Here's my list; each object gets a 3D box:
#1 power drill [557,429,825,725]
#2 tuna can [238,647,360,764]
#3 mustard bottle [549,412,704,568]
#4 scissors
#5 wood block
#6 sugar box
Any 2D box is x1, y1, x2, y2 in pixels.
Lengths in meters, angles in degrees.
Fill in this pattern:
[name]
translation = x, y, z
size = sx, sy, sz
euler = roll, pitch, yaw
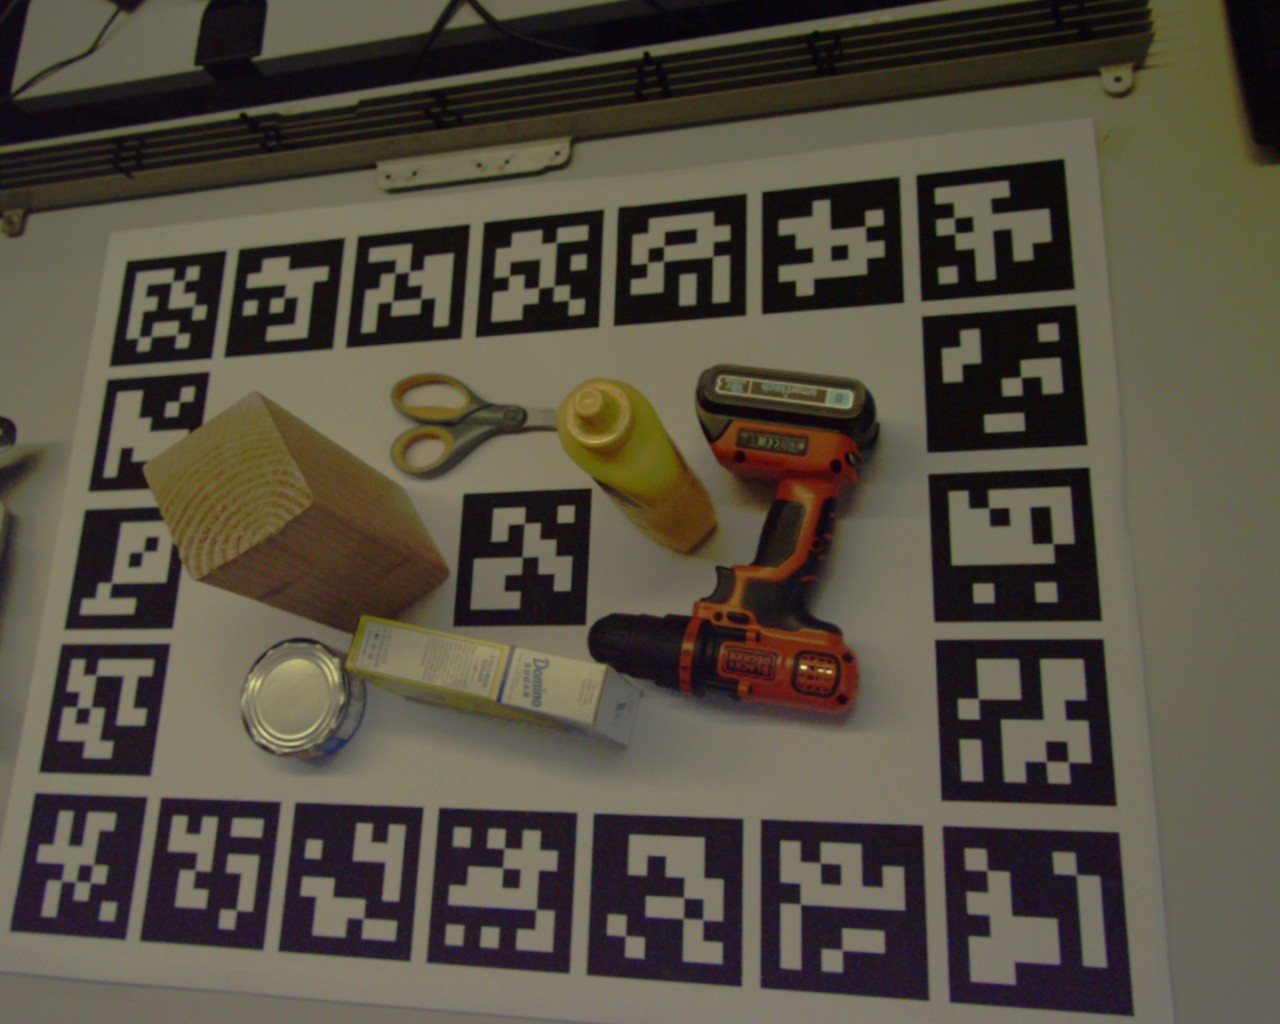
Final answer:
[power drill]
translation = 0.045, 0.042, 0.789
size = 0.186, 0.057, 0.187
euler = 12, 86, 18
[tuna can]
translation = -0.255, 0.146, 0.856
size = 0.086, 0.033, 0.086
euler = -4, 76, 14
[mustard bottle]
translation = -0.014, -0.021, 0.760
size = 0.058, 0.190, 0.097
euler = -41, 71, 3
[scissors]
translation = -0.128, -0.057, 0.885
size = 0.204, 0.016, 0.088
euler = 0, 72, 16
[wood block]
translation = -0.230, 0.022, 0.803
size = 0.091, 0.204, 0.090
euler = -30, 72, 6
[sugar box]
translation = -0.100, 0.127, 0.791
size = 0.178, 0.092, 0.045
euler = 10, 76, 16
